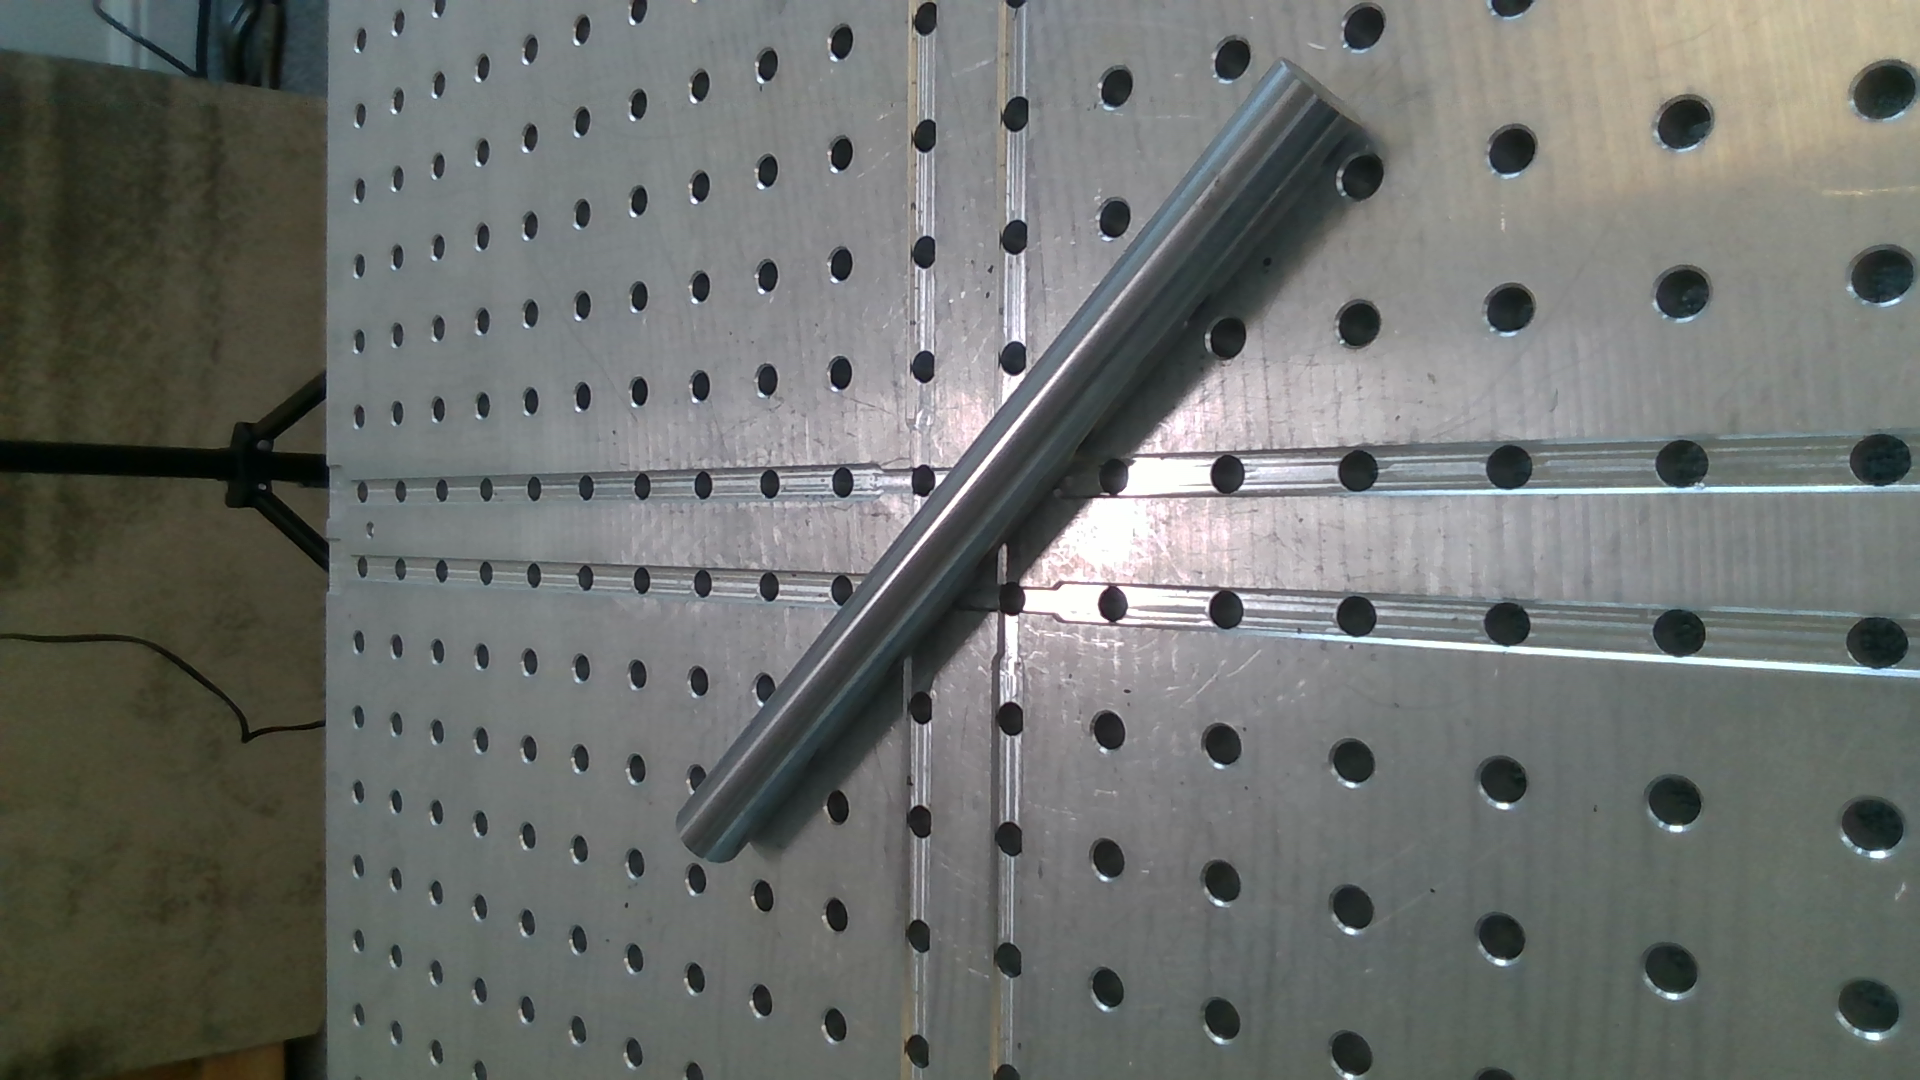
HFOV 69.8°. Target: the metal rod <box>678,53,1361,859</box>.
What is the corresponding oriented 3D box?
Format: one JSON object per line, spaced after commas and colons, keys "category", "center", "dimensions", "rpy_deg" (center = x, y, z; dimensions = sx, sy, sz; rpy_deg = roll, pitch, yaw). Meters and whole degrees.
{"category": "metal rod", "center": [0.000, -0.004, 0.394], "dimensions": [0.301, 0.025, 0.025], "rpy_deg": [-50, 60, 29]}
